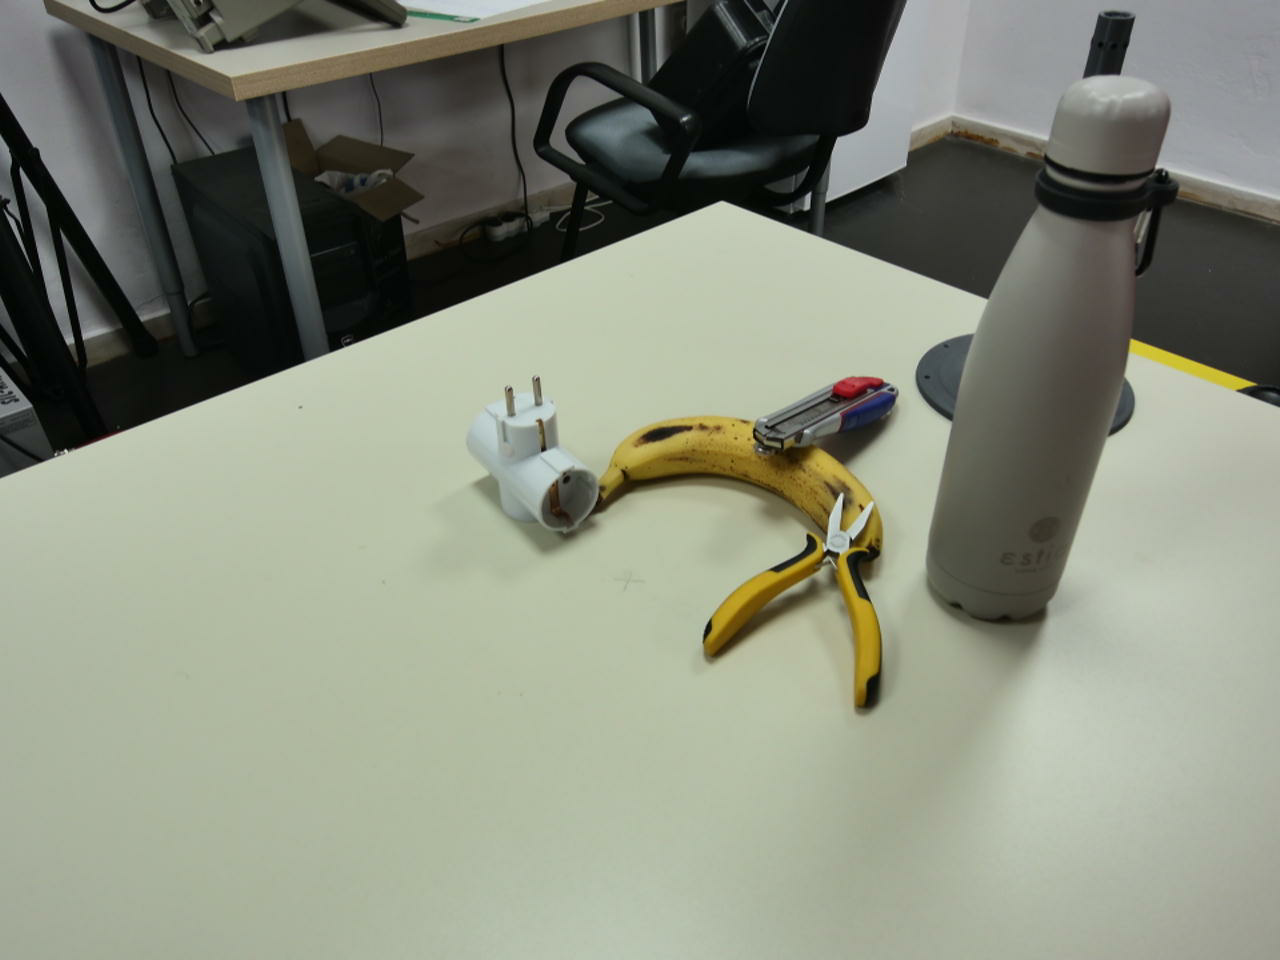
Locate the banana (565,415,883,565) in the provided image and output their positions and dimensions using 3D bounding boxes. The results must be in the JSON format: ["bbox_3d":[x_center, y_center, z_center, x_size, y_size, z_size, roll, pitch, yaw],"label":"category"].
[{"bbox_3d":[0.061,-0.001,0.619,0.186,0.038,0.097,12,38,17],"label":"banana"}]
